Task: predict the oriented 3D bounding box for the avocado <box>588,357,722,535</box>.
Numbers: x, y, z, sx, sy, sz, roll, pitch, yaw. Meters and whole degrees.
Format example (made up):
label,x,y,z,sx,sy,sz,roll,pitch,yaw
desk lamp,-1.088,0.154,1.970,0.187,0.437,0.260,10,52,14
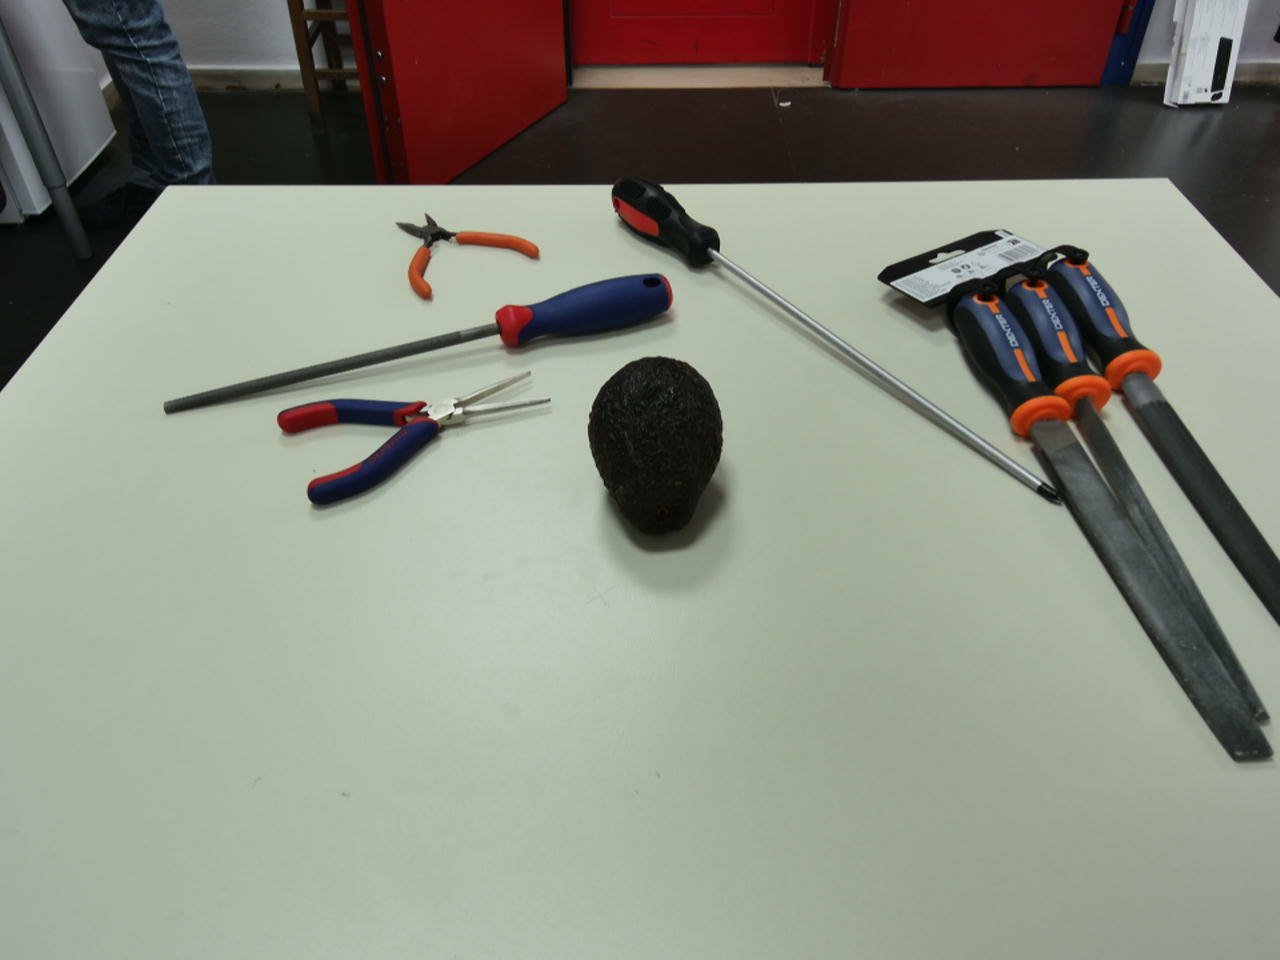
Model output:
label,x,y,z,sx,sy,sz,roll,pitch,yaw
avocado,0.006,-0.022,0.511,0.070,0.069,0.090,16,42,19
